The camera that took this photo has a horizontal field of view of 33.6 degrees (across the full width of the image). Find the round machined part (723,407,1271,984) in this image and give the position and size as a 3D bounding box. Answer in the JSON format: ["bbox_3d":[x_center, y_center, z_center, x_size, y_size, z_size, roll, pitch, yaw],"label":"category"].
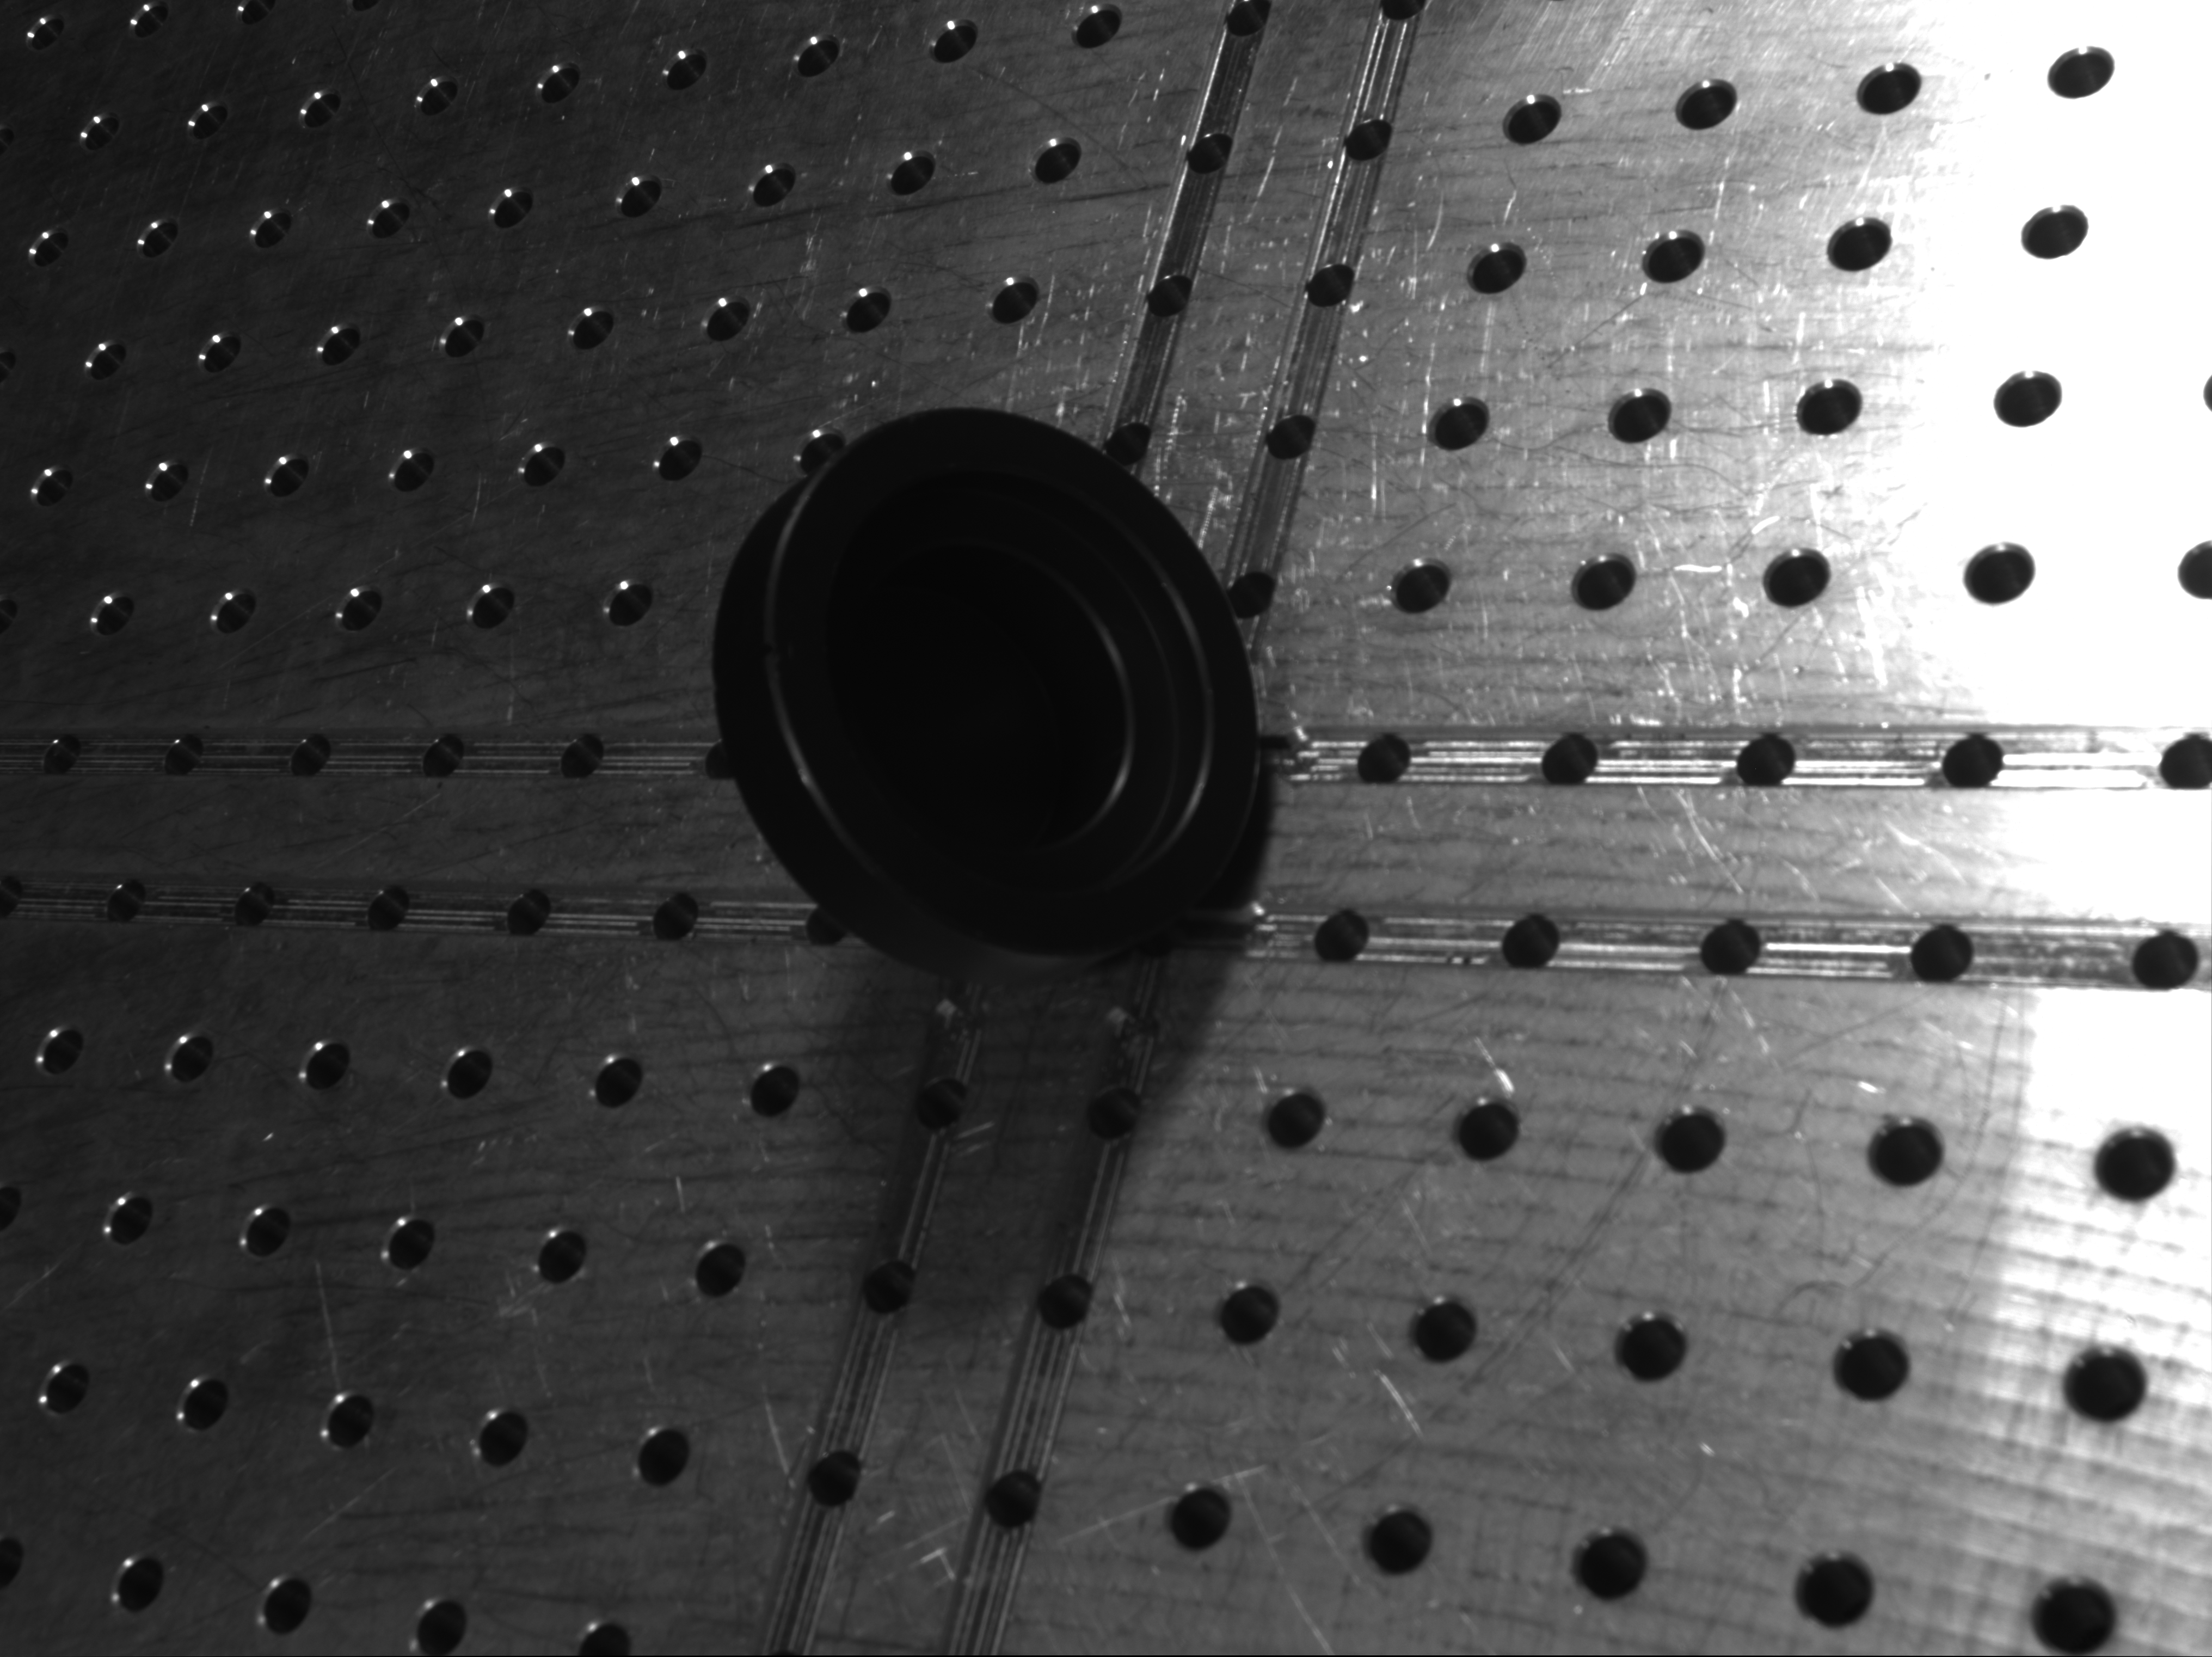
[{"bbox_3d":[-0.023,-0.020,0.636,0.042,0.098,0.098,-28,44,53],"label":"round machined part"}]
